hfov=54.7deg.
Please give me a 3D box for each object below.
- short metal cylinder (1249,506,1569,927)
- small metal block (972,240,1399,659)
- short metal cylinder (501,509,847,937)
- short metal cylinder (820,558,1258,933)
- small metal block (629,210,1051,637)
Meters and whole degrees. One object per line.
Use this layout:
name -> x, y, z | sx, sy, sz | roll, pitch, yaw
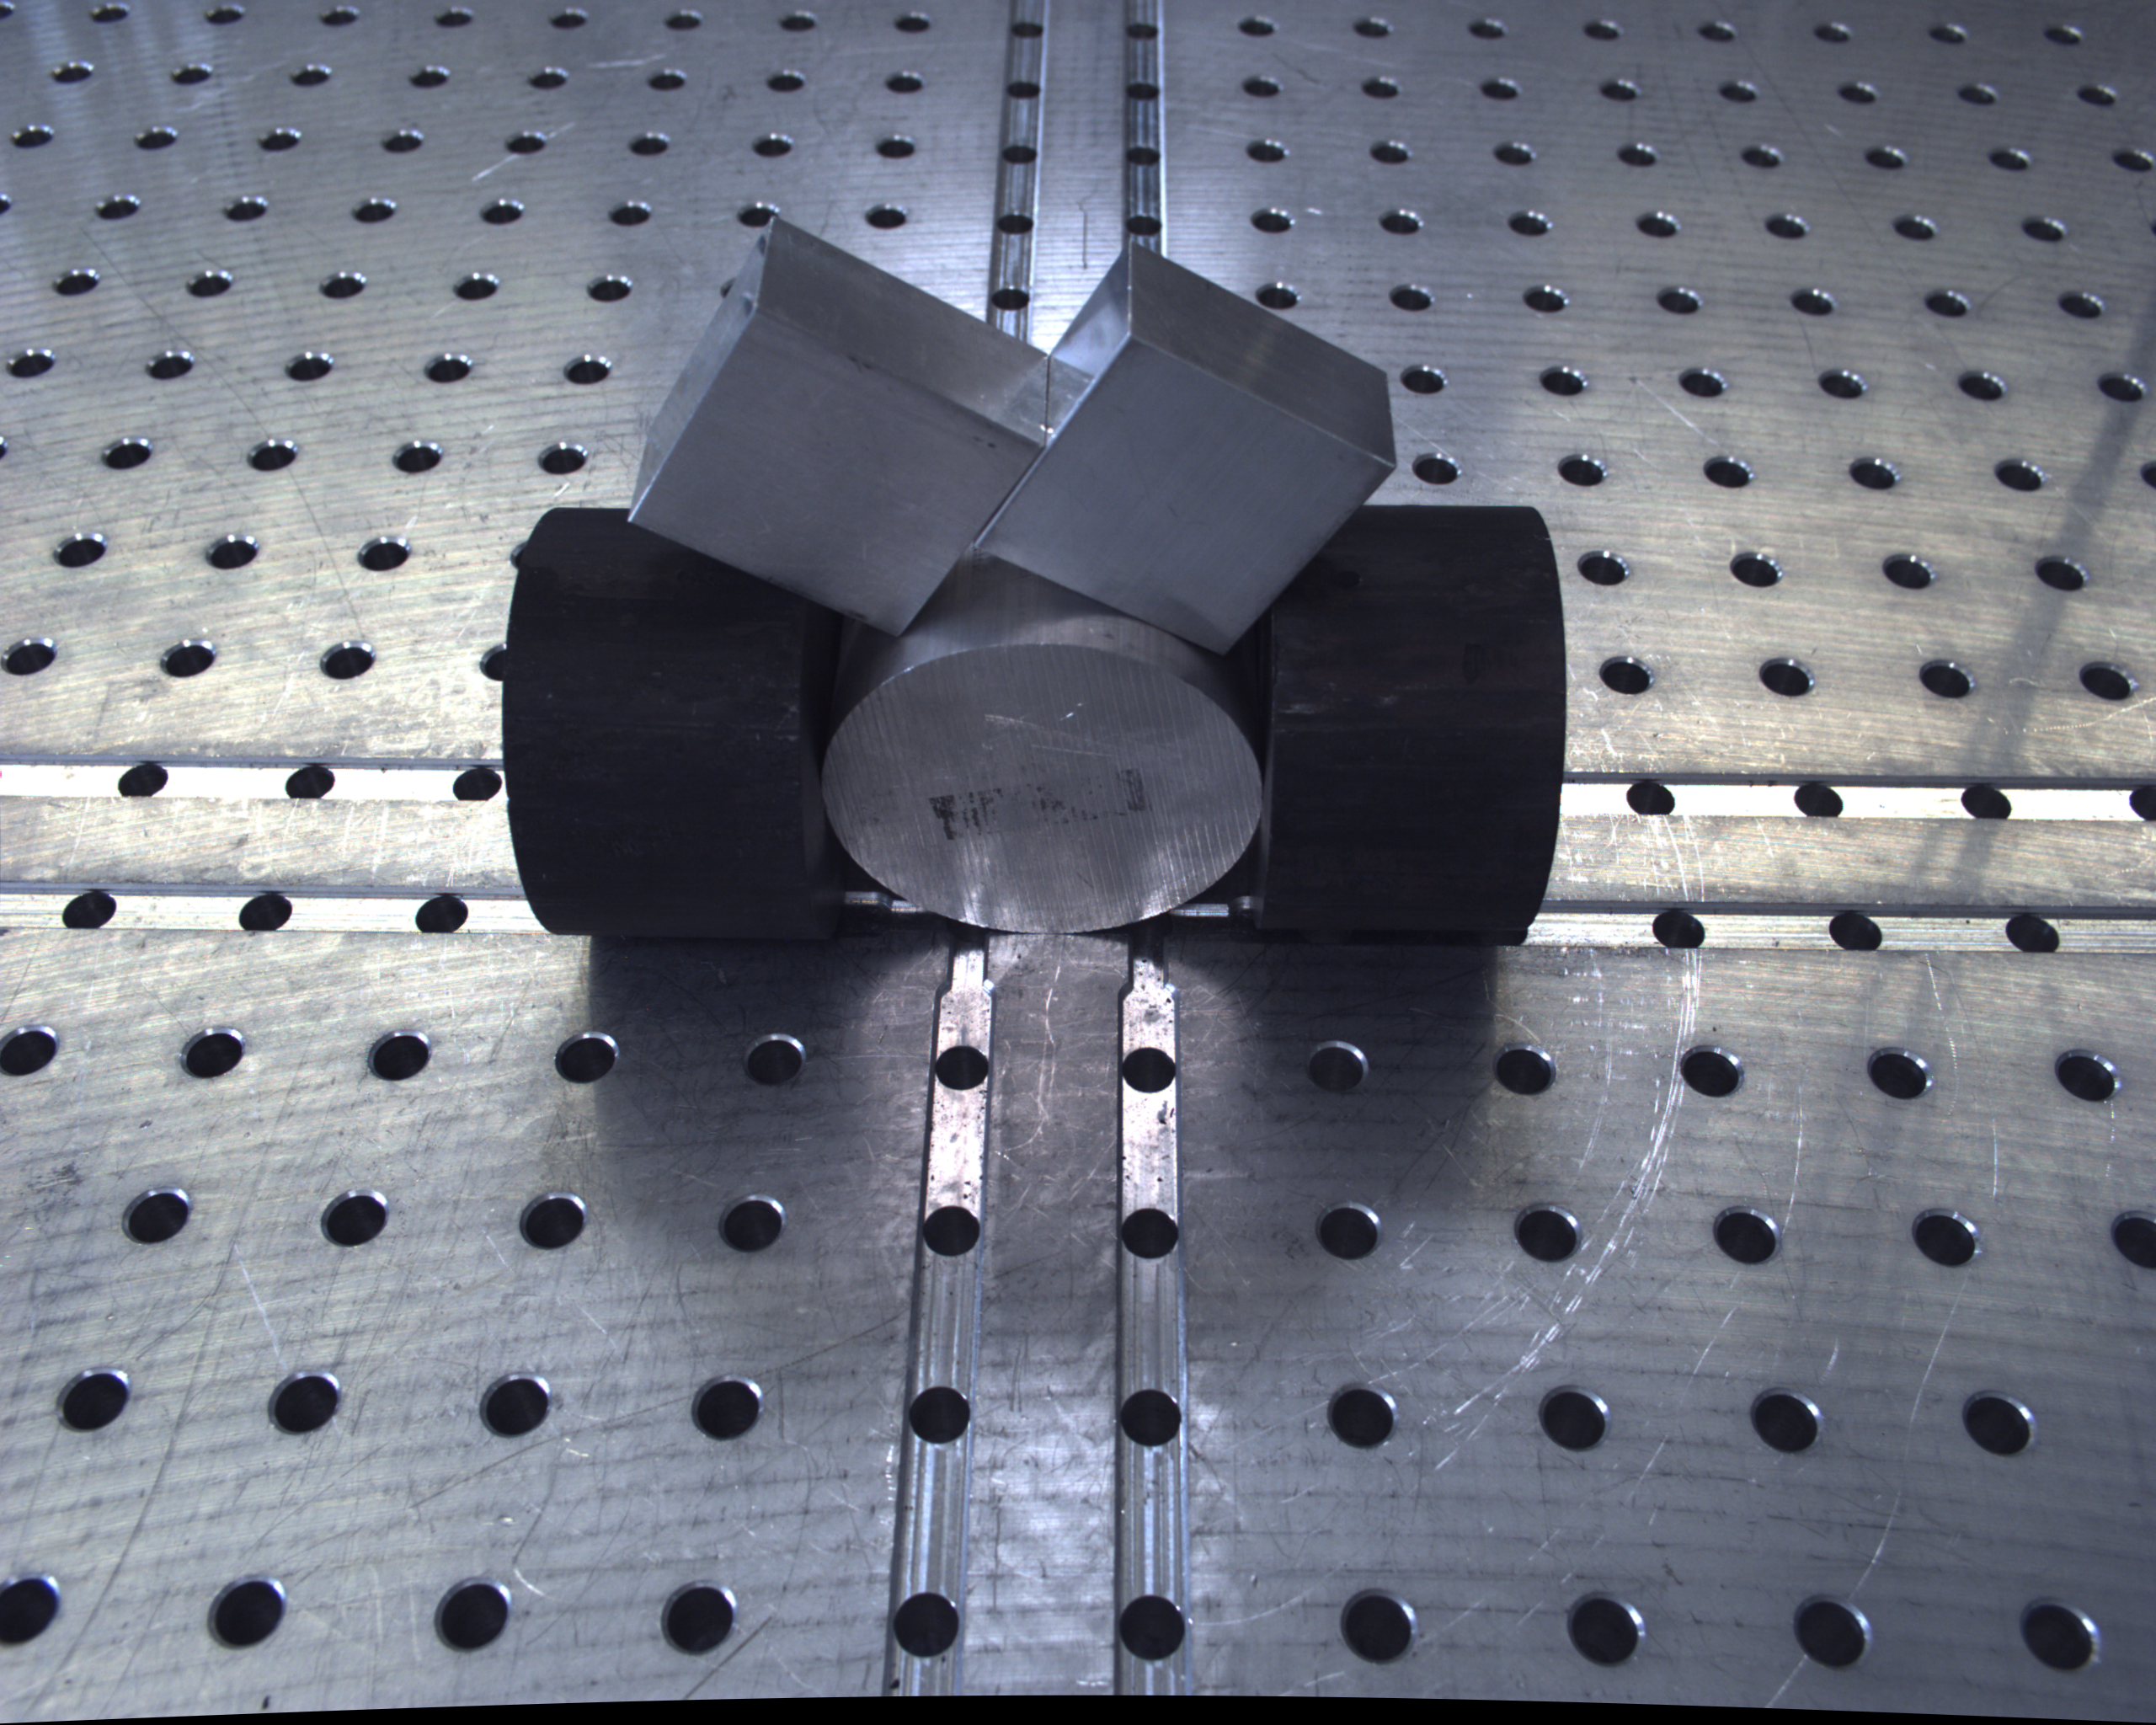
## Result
short metal cylinder -> 0.059, -0.027, 0.394 | 0.050, 0.080, 0.080 | 0, 50, 1
small metal block -> 0.017, -0.067, 0.348 | 0.050, 0.050, 0.025 | 21, 46, -23
short metal cylinder -> -0.072, -0.026, 0.392 | 0.050, 0.080, 0.080 | 1, 50, 1
short metal cylinder -> -0.006, -0.031, 0.397 | 0.080, 0.080, 0.050 | 1, 50, 1
small metal block -> -0.039, -0.071, 0.345 | 0.050, 0.050, 0.025 | 22, 46, -23
